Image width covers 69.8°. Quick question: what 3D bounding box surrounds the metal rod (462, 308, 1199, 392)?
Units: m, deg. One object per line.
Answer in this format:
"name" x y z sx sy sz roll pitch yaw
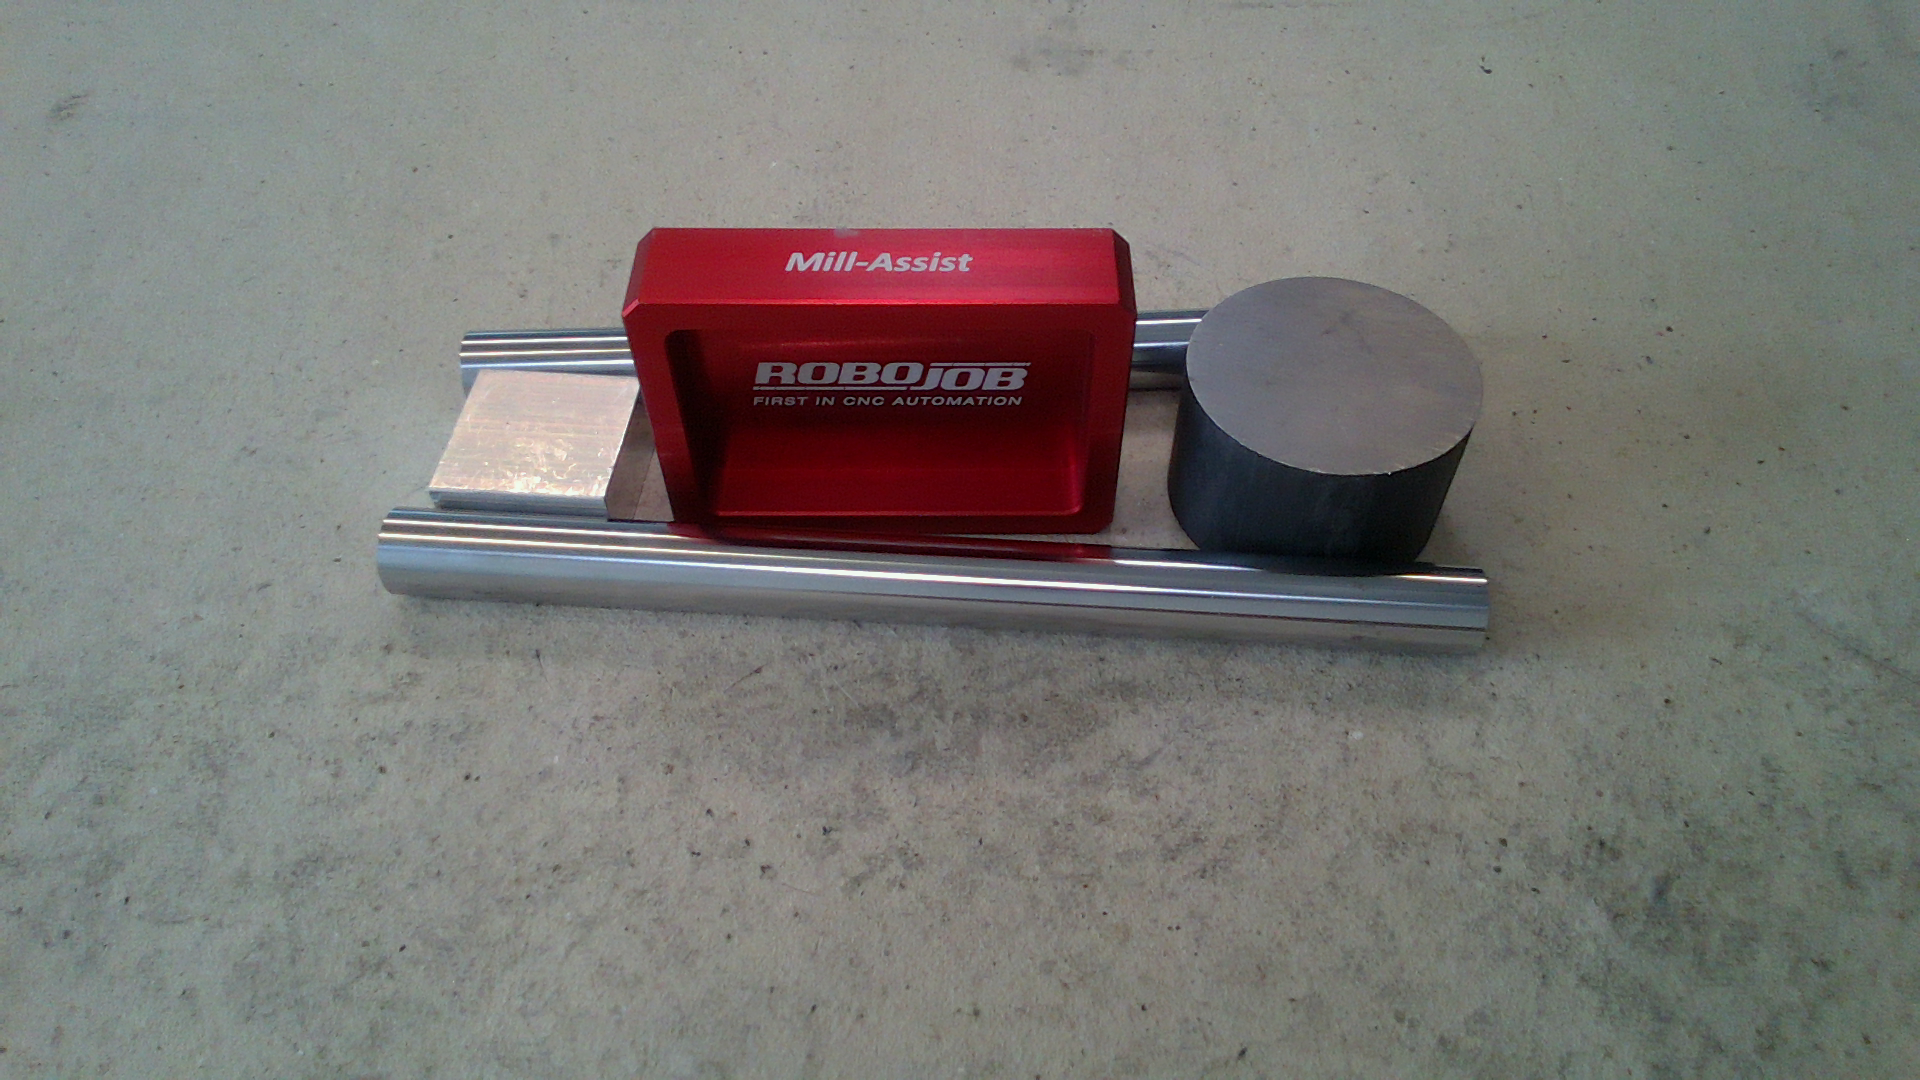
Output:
"metal rod" -0.004 -0.060 0.442 0.300 0.025 0.025 -2 50 -2

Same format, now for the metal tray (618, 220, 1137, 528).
"metal tray" -0.020 -0.043 0.384 0.130 0.090 0.030 0 50 0

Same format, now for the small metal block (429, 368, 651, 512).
"small metal block" -0.123 -0.024 0.412 0.050 0.025 0.050 3 50 3

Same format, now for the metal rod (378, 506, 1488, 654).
"metal rod" -0.009 0.011 0.383 0.300 0.025 0.025 3 50 3

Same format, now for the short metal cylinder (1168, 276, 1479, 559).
"short metal cylinder" 0.104 -0.032 0.402 0.080 0.050 0.080 0 50 0
